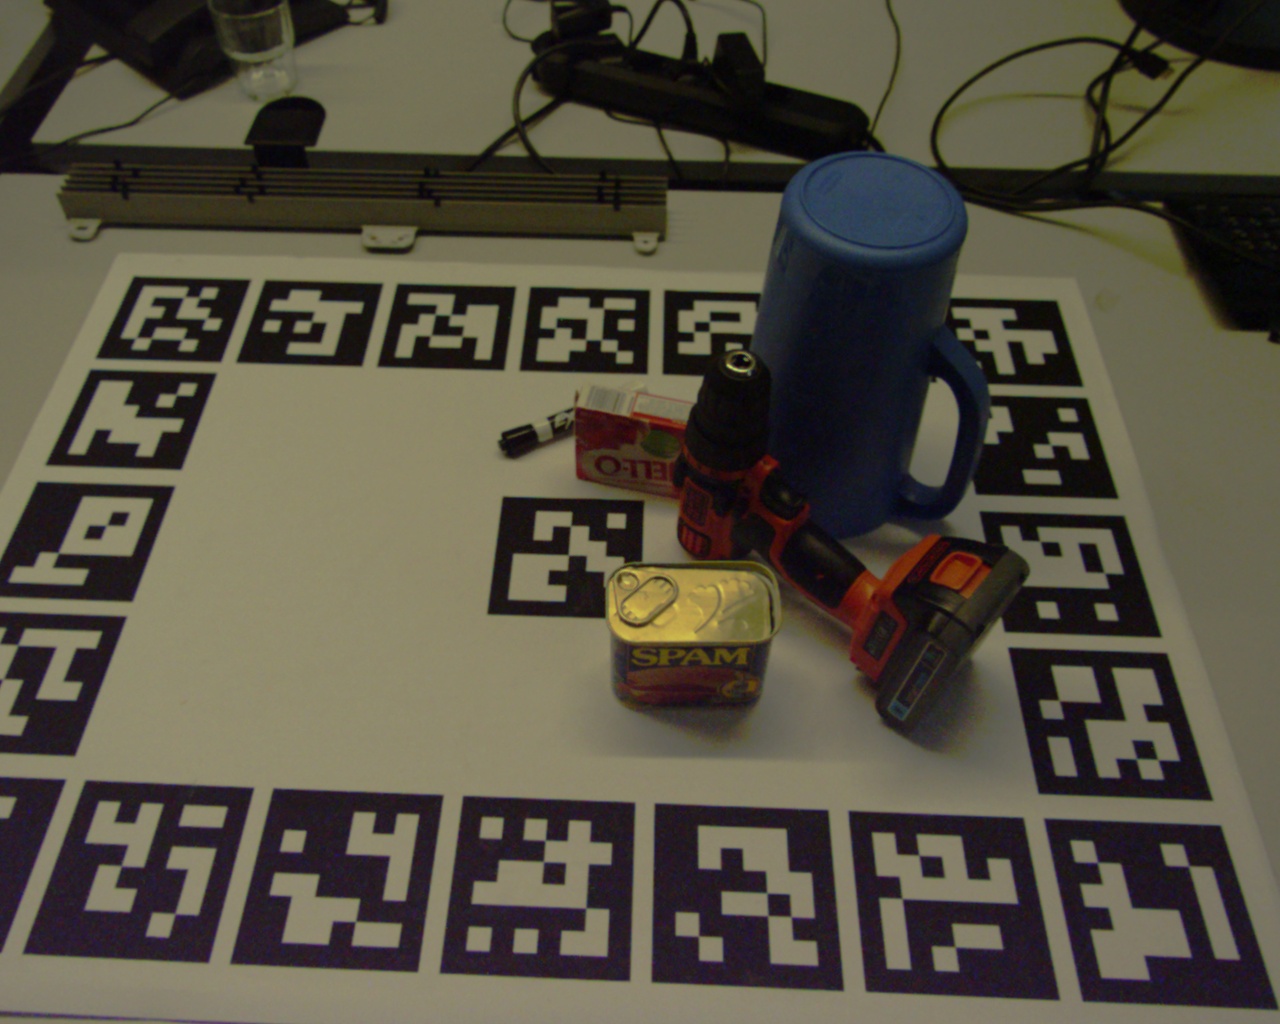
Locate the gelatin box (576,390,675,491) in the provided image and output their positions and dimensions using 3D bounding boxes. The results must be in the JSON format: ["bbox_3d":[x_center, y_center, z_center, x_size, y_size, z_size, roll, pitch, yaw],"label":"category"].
[{"bbox_3d":[-0.001,-0.049,0.835,0.089,0.073,0.030,11,57,6],"label":"gelatin box"}]

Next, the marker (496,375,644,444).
[{"bbox_3d":[-0.055,-0.080,0.888,0.120,0.019,0.020,-21,56,-14],"label":"marker"}]

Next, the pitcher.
[{"bbox_3d":[0.145,-0.095,0.772,0.191,0.241,0.132,26,60,25],"label":"pitcher"}]

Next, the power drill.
[{"bbox_3d":[0.093,0.000,0.729,0.188,0.184,0.057,34,62,16],"label":"power drill"}]

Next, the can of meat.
[{"bbox_3d":[0.023,0.077,0.728,0.102,0.083,0.058,1,51,0],"label":"can of meat"}]
